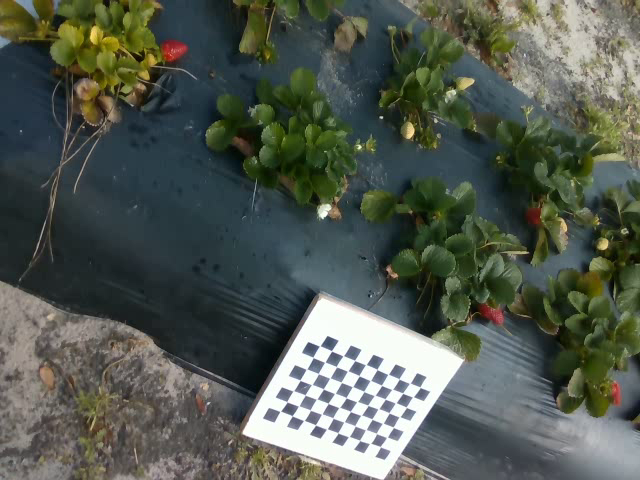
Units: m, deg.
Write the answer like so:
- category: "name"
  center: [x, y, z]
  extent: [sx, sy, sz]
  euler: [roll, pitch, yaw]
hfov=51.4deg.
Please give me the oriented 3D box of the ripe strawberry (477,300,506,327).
- category: "ripe strawberry"
  center: [0.302, 0.125, 1.134]
  extent: [0.051, 0.064, 0.043]
  euler: [-30, 25, -3]
